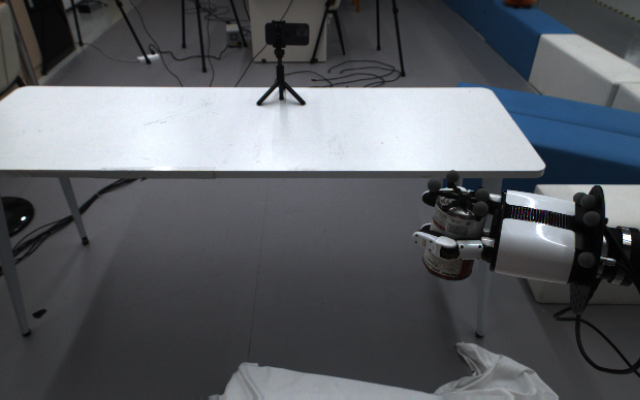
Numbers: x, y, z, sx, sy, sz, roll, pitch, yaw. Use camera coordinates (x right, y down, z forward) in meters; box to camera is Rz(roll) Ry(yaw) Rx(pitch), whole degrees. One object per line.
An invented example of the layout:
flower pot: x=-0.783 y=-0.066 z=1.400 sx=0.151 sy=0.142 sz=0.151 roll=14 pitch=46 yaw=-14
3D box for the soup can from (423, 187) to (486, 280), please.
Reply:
soup can: x=0.181 y=0.046 z=0.643 sx=0.067 sy=0.101 sz=0.067 roll=3 pitch=30 yaw=-2
